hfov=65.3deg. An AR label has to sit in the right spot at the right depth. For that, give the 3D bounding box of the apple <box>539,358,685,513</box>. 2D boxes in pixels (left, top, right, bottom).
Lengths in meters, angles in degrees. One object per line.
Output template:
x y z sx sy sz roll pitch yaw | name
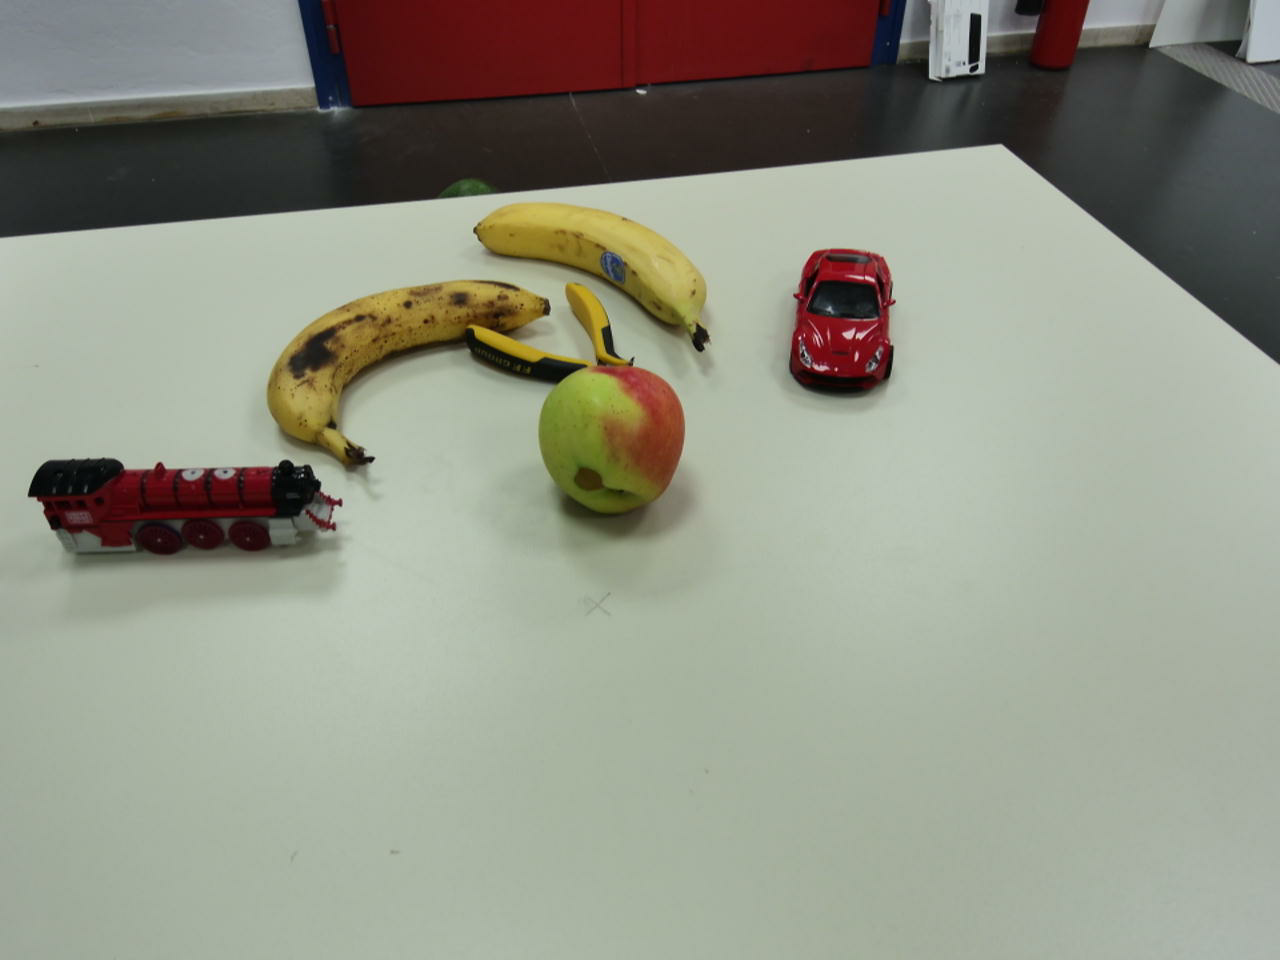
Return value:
-0.013 -0.022 0.503 0.075 0.074 0.075 -21 44 -25 | apple
